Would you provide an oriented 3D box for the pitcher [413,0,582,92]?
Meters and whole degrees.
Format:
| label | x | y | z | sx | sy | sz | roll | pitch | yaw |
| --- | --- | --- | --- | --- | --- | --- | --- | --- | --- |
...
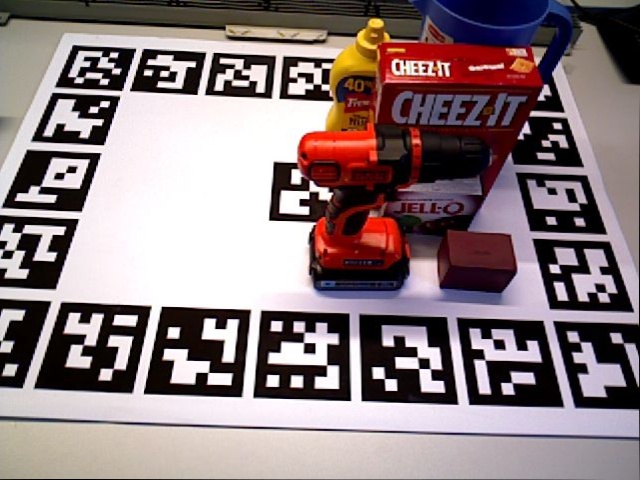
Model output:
| label | x | y | z | sx | sy | sz | roll | pitch | yaw |
| --- | --- | --- | --- | --- | --- | --- | --- | --- | --- |
| pitcher | 0.191 | -0.202 | 0.668 | 0.188 | 0.247 | 0.131 | 7 | 57 | 4 |

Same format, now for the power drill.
| label | x | y | z | sx | sy | sz | roll | pitch | yaw |
| --- | --- | --- | --- | --- | --- | --- | --- | --- | --- |
| power drill | 0.071 | -0.037 | 0.545 | 0.183 | 0.191 | 0.056 | 3 | 53 | -3 |

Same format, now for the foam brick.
| label | x | y | z | sx | sy | sz | roll | pitch | yaw |
| --- | --- | --- | --- | --- | --- | --- | --- | --- | --- |
| foam brick | 0.183 | 0.029 | 0.631 | 0.078 | 0.052 | 0.052 | 5 | 59 | 0 |

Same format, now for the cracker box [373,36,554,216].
| label | x | y | z | sx | sy | sz | roll | pitch | yaw |
| --- | --- | --- | --- | --- | --- | --- | --- | --- | --- |
| cracker box | 0.142 | -0.117 | 0.617 | 0.163 | 0.218 | 0.071 | 0 | 55 | 0 |

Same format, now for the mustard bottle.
| label | x | y | z | sx | sy | sz | roll | pitch | yaw |
| --- | --- | --- | --- | --- | --- | --- | --- | --- | --- |
| mustard bottle | 0.058 | -0.202 | 0.675 | 0.096 | 0.195 | 0.057 | 14 | 58 | 6 |

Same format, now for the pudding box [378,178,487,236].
| label | x | y | z | sx | sy | sz | roll | pitch | yaw |
| --- | --- | --- | --- | --- | --- | --- | --- | --- | --- |
| pudding box | 0.130 | -0.046 | 0.637 | 0.113 | 0.092 | 0.038 | 3 | 55 | 2 |
